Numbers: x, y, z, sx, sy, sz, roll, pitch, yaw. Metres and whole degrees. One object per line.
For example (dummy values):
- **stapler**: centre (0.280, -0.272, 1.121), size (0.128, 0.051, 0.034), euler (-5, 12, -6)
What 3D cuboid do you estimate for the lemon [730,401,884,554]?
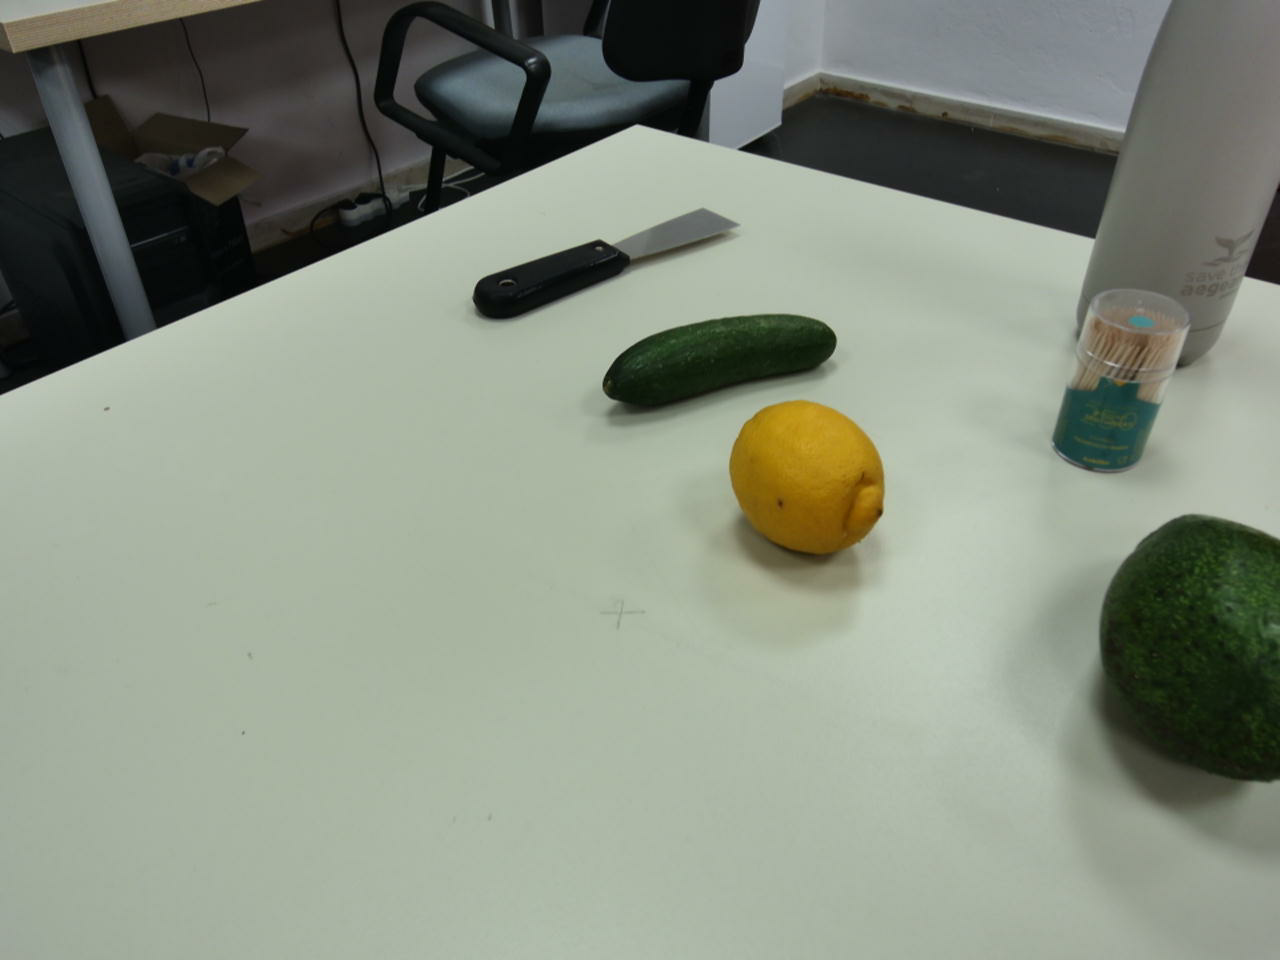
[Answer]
- **lemon**: centre (0.069, -0.001, 0.413), size (0.061, 0.059, 0.067), euler (-5, 36, -6)
